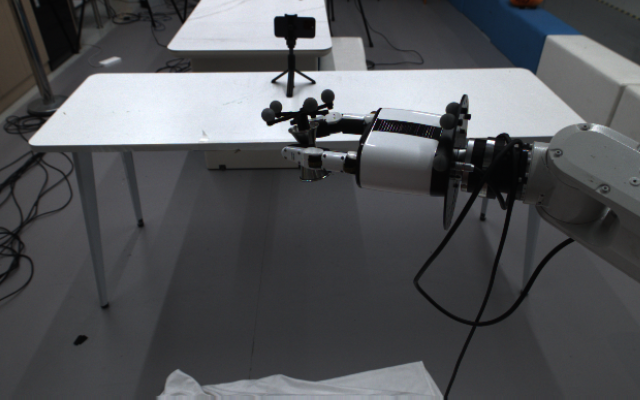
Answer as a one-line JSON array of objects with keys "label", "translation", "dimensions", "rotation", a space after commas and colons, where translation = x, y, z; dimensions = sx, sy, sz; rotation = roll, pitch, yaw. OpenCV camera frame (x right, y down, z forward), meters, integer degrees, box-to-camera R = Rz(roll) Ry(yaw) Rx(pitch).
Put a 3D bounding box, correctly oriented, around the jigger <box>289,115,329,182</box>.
[{"label": "jigger", "translation": [-0.013, -0.063, 0.630], "dimensions": [0.043, 0.071, 0.043], "rotation": [-12, 24, 5]}]
